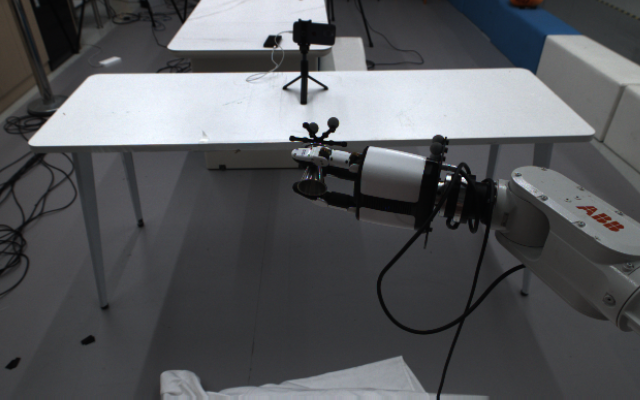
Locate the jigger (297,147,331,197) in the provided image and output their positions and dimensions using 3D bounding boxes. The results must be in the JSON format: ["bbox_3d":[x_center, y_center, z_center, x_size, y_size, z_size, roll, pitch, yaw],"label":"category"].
[{"bbox_3d":[-0.010,-0.048,0.719,0.043,0.043,0.071,5,60,4],"label":"jigger"}]
